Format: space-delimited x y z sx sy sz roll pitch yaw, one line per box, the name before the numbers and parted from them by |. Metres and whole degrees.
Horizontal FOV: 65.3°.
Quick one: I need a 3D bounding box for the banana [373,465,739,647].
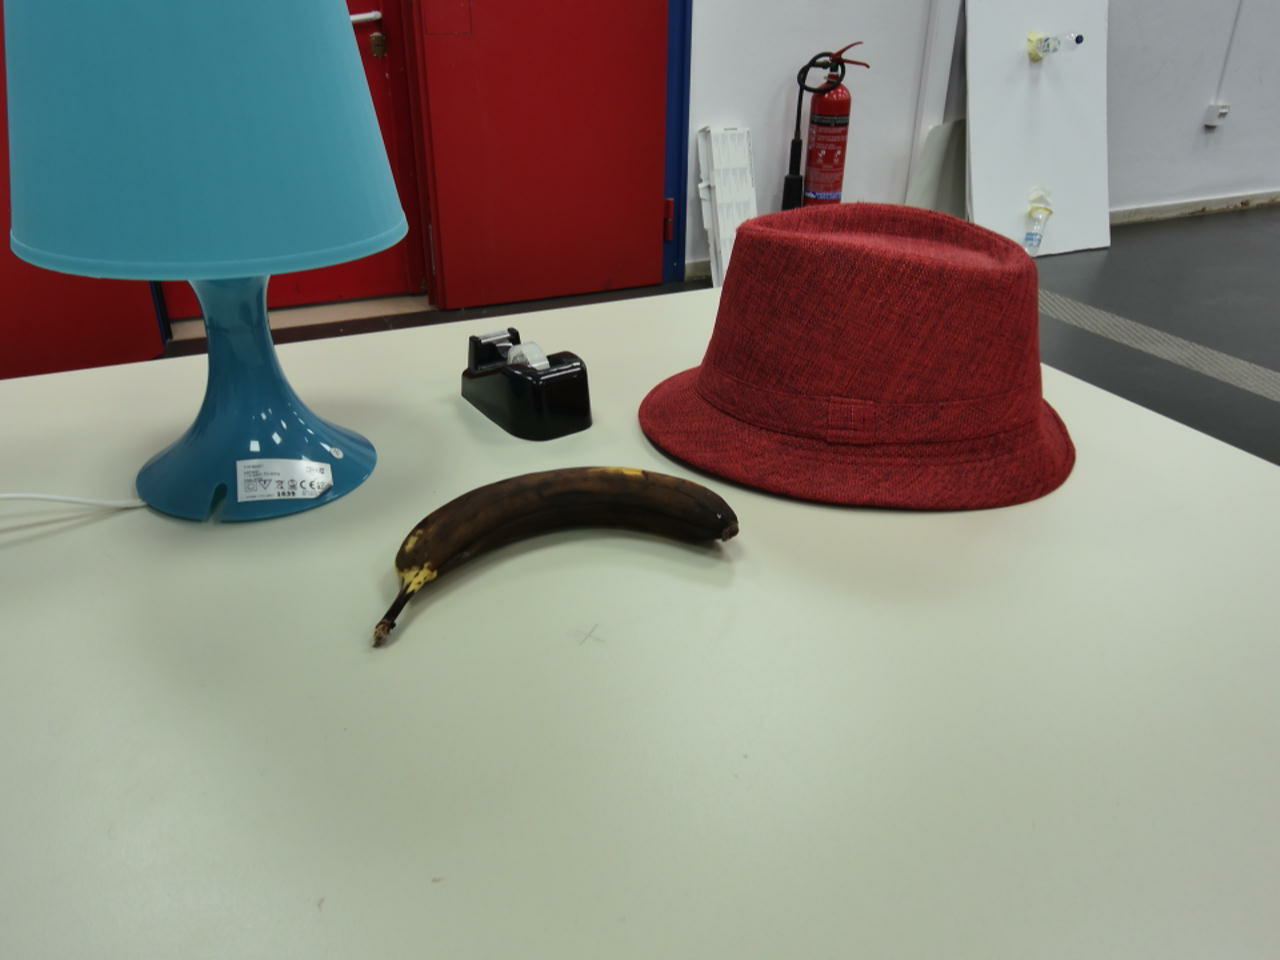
banana | -0.048 0.023 0.503 0.188 0.034 0.091 -11 28 -22
